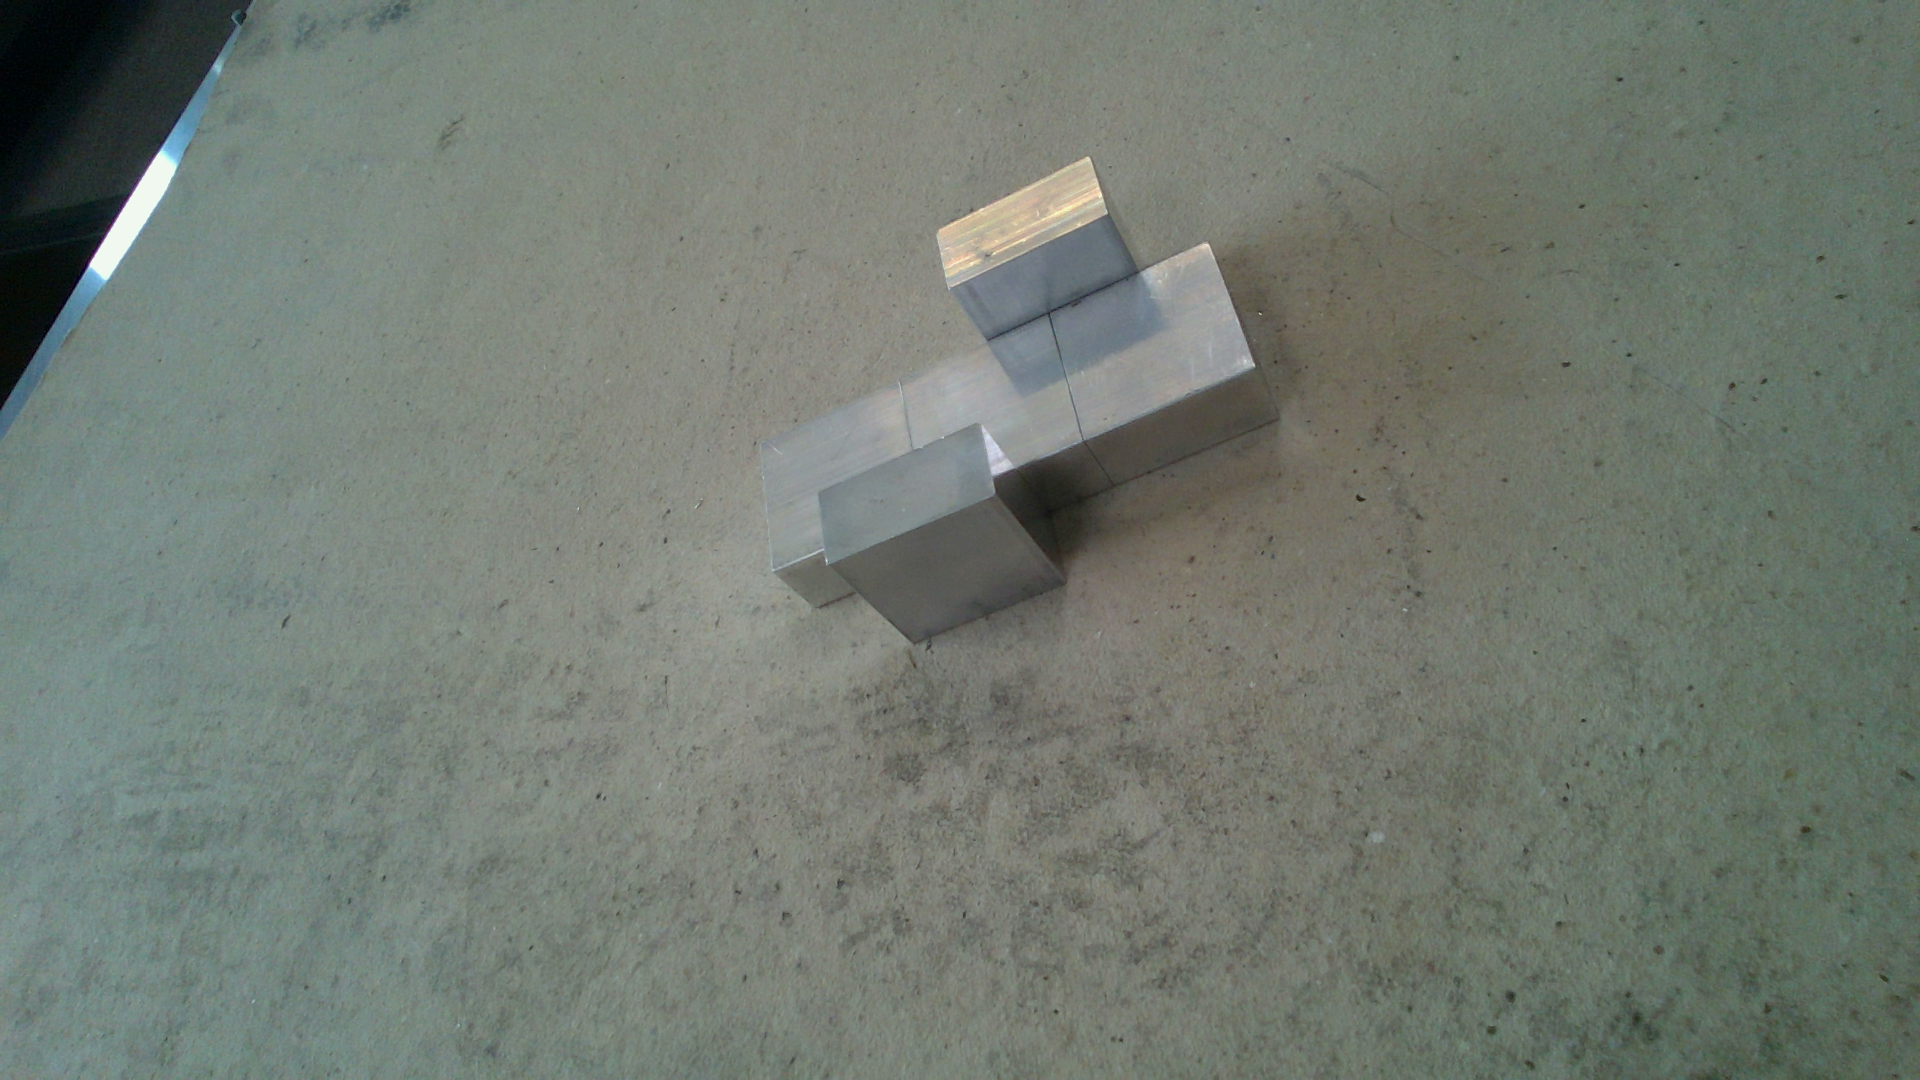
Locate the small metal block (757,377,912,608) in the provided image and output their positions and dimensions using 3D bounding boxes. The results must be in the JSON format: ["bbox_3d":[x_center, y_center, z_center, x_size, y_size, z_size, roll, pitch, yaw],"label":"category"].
[{"bbox_3d":[-0.032,-0.014,0.420,0.050,0.025,0.050,-22,53,15],"label":"small metal block"}]

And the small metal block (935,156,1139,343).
[{"bbox_3d":[0.027,-0.079,0.412,0.050,0.050,0.025,-23,53,16],"label":"small metal block"}]

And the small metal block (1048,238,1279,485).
[{"bbox_3d":[0.057,-0.051,0.394,0.050,0.025,0.050,-22,53,15],"label":"small metal block"}]

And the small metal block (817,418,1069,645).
[{"bbox_3d":[-0.004,-0.001,0.381,0.050,0.050,0.025,-23,52,15],"label":"small metal block"}]

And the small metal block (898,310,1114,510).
[{"bbox_3d":[0.013,-0.033,0.407,0.050,0.025,0.050,-22,53,15],"label":"small metal block"}]
